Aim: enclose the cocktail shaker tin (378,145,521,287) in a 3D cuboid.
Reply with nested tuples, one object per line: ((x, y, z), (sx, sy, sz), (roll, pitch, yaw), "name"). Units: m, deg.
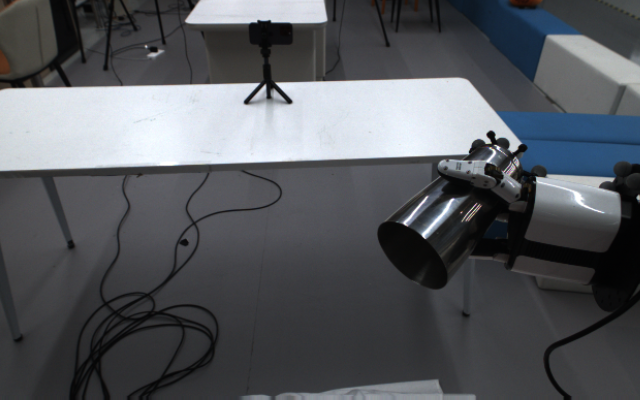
((0.155, 0.005, 0.545), (0.170, 0.093, 0.093), (-38, 49, -24), "cocktail shaker tin")
